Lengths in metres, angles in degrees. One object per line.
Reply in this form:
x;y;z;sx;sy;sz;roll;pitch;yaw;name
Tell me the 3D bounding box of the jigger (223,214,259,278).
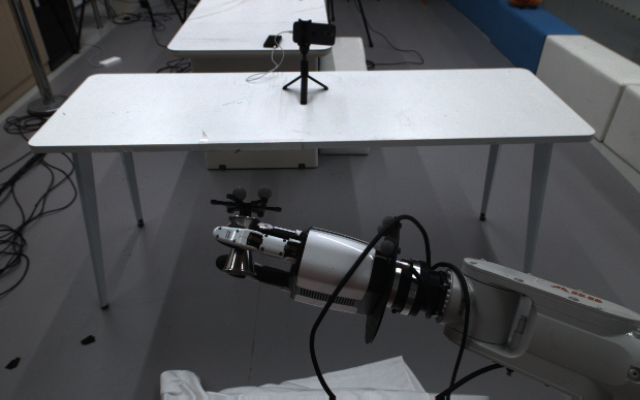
-0.097;0.056;0.600;0.043;0.043;0.071;3;75;2;jigger
